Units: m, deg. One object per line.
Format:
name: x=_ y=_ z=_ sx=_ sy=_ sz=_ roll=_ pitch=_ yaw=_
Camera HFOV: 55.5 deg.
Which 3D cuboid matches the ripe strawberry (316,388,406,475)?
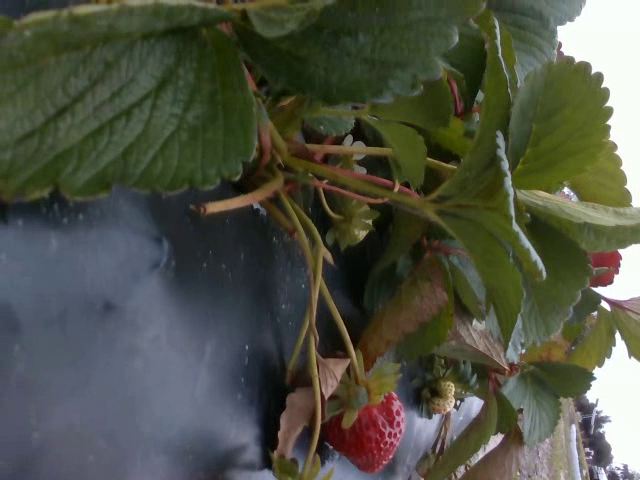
ripe strawberry: x=0.023 y=0.084 z=0.264 sx=0.044 sy=0.059 sz=0.041 roll=-24 pitch=37 yaw=-28
